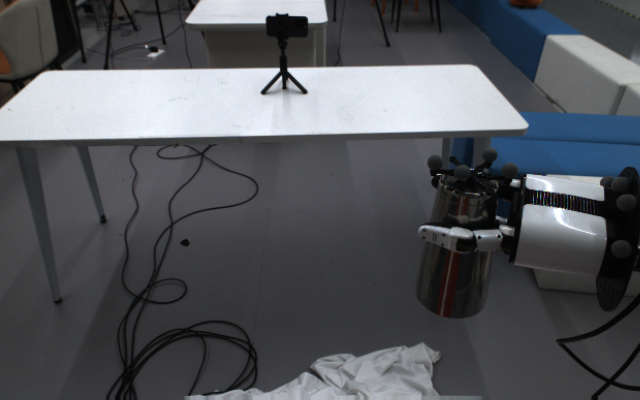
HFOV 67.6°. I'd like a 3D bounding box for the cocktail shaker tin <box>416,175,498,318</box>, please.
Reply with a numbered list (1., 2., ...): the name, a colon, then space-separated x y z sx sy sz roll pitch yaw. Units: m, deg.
1. cocktail shaker tin: 0.176 0.047 0.598 0.093 0.170 0.093 -1 32 1
